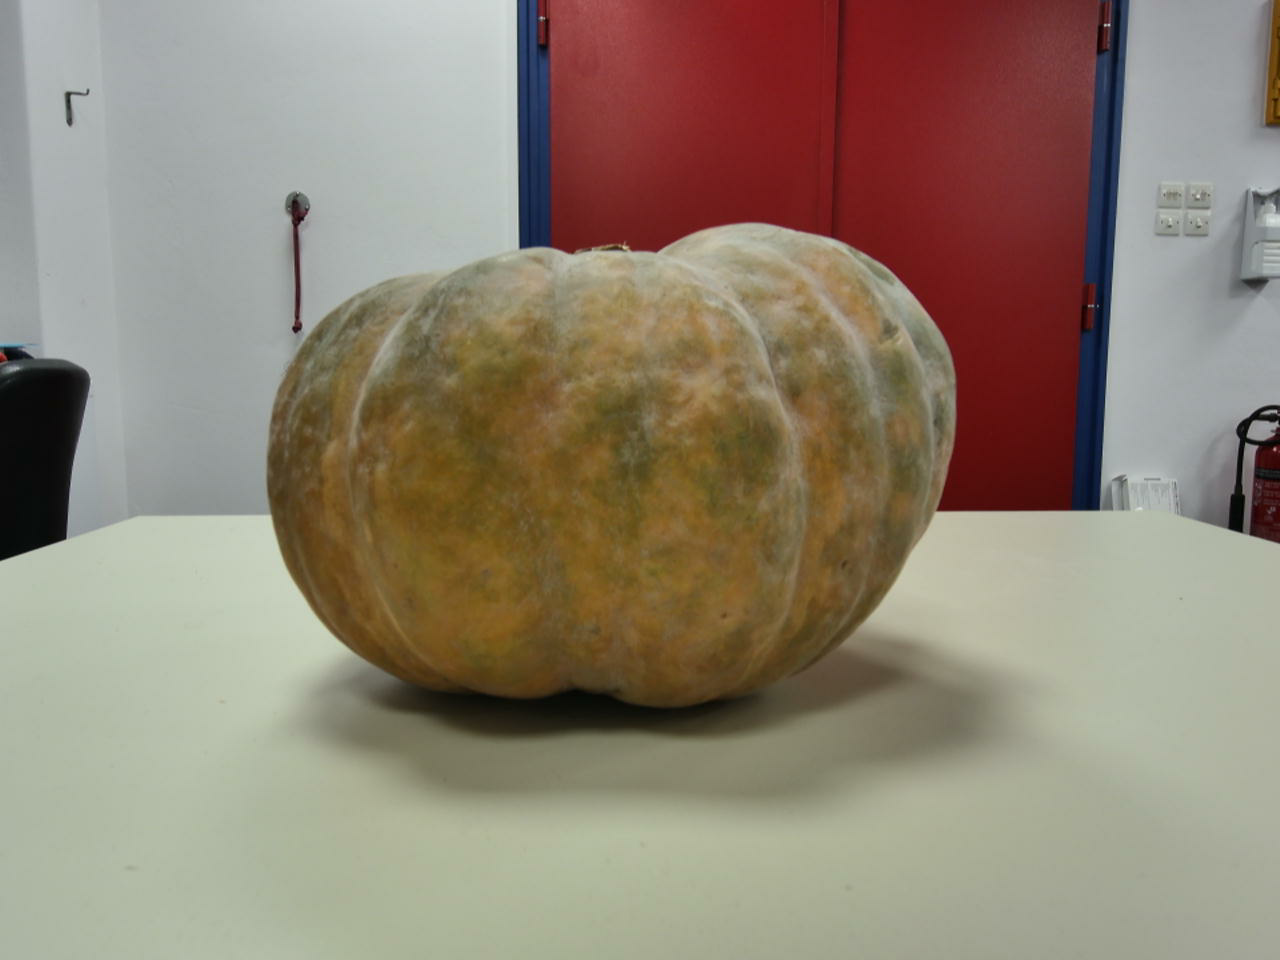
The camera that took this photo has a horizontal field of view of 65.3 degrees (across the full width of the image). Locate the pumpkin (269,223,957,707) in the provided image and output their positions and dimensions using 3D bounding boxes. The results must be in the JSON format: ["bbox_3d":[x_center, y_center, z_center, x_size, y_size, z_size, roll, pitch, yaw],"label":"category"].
[{"bbox_3d":[-0.015,-0.009,0.384,0.252,0.168,0.252,0,5,0],"label":"pumpkin"}]
